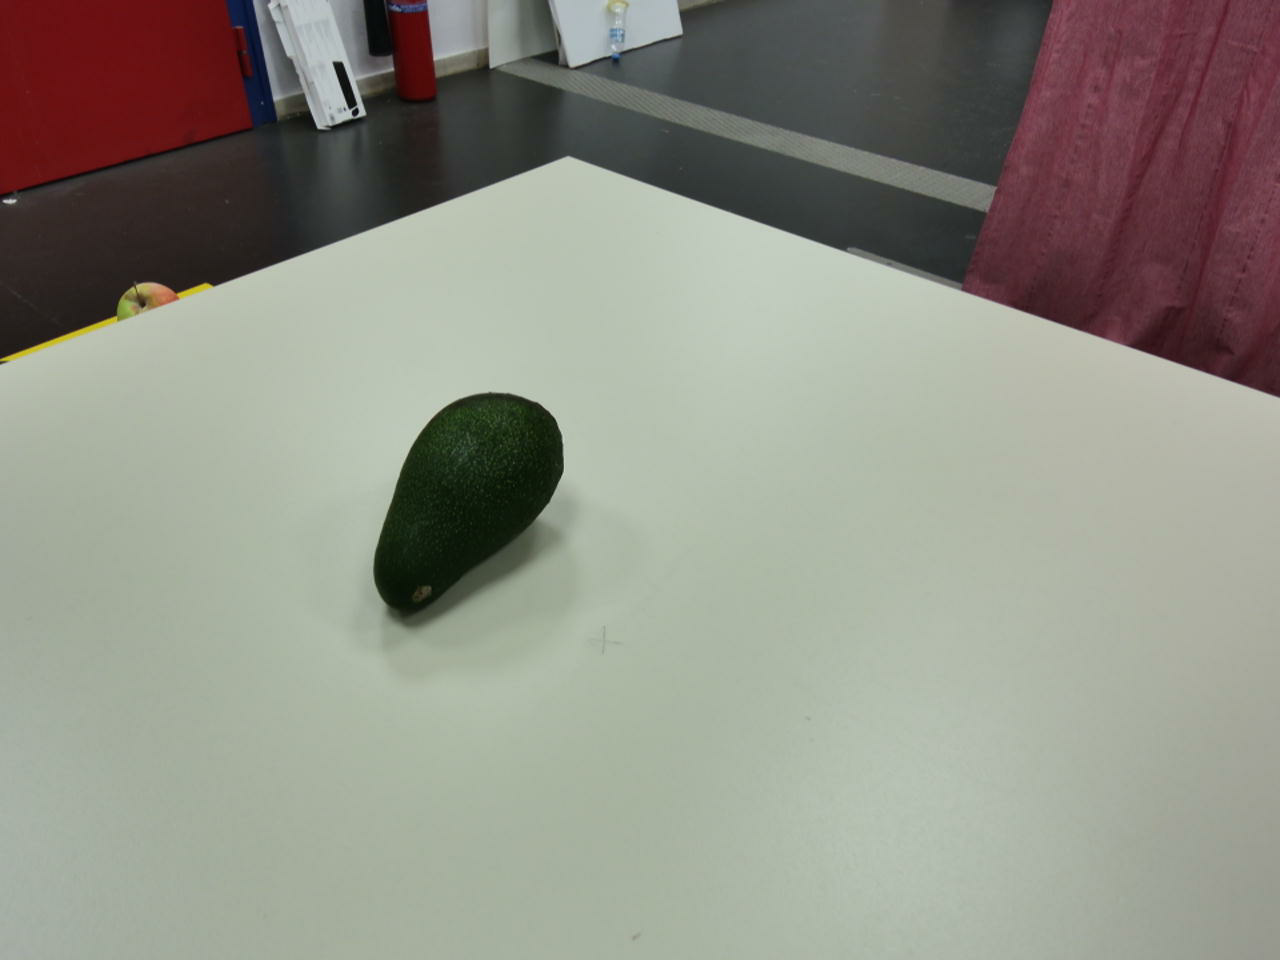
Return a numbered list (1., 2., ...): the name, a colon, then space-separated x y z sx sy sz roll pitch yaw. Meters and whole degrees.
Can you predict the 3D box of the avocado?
1. avocado: -0.091 0.002 0.498 0.123 0.076 0.074 -28 46 -34
